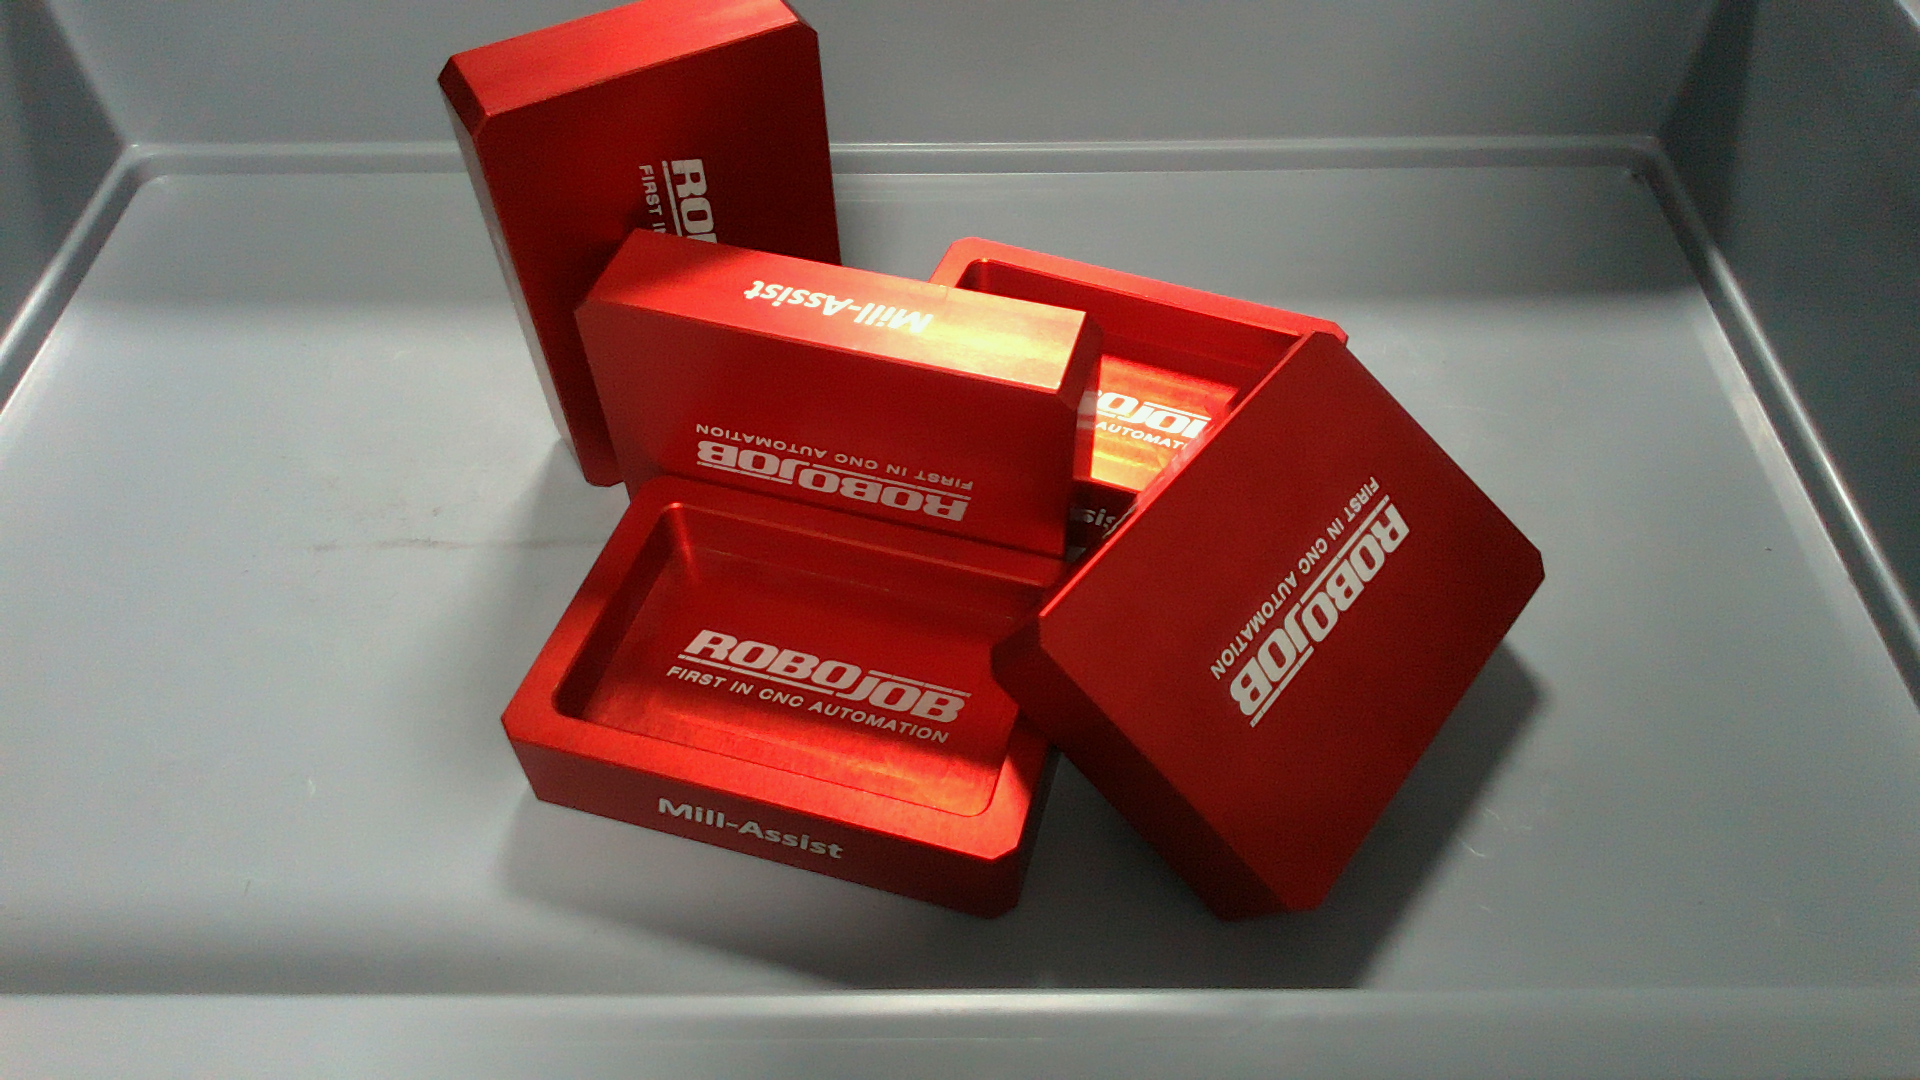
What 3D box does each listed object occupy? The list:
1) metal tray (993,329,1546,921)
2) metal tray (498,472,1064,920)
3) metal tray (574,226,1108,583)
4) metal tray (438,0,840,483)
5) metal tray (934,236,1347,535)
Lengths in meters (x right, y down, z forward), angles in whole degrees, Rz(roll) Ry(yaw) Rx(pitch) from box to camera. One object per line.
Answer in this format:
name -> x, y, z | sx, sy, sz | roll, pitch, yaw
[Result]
metal tray -> 0.082, 0.018, 0.346 | 0.090, 0.030, 0.130 | 46, 60, -1
metal tray -> -0.037, 0.036, 0.355 | 0.130, 0.030, 0.090 | 12, 51, 10
metal tray -> -0.030, -0.029, 0.371 | 0.130, 0.090, 0.030 | 12, 51, 10
metal tray -> -0.082, -0.084, 0.391 | 0.090, 0.130, 0.030 | -24, 54, -18
metal tray -> 0.043, -0.043, 0.422 | 0.130, 0.030, 0.090 | 16, 52, 13
